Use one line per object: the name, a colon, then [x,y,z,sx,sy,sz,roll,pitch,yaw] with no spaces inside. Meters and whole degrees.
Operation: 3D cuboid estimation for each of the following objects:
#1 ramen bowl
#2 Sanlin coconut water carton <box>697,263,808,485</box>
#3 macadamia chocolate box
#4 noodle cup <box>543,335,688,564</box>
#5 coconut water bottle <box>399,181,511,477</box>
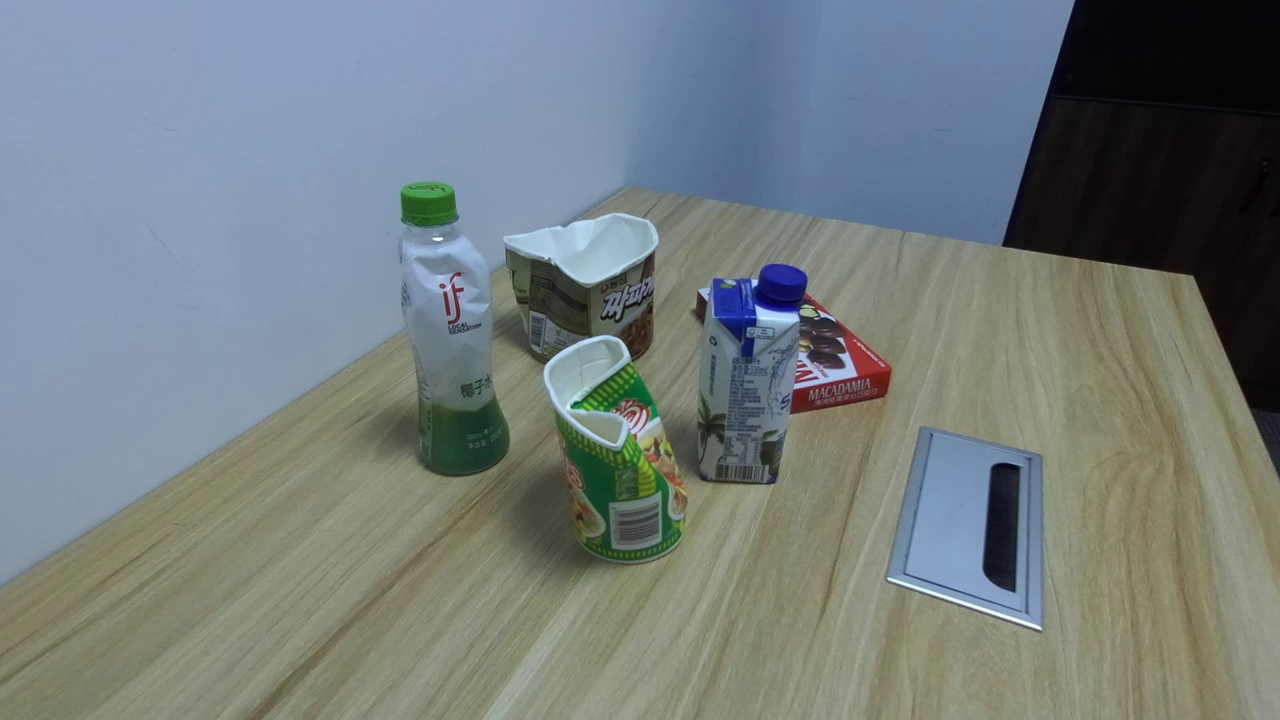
ramen bowl: [-0.037,-0.063,0.610,0.113,0.097,0.134,24,39,34]
Sanlin coconut water carton: [0.068,0.009,0.450,0.061,0.144,0.060,1,33,2]
macadamia chocolate box: [0.124,-0.019,0.608,0.096,0.027,0.177,-10,34,-16]
noodle cup: [-0.009,0.054,0.410,0.075,0.122,0.083,12,44,31]
coconut water bottle: [-0.123,-0.017,0.454,0.067,0.187,0.067,1,30,0]
